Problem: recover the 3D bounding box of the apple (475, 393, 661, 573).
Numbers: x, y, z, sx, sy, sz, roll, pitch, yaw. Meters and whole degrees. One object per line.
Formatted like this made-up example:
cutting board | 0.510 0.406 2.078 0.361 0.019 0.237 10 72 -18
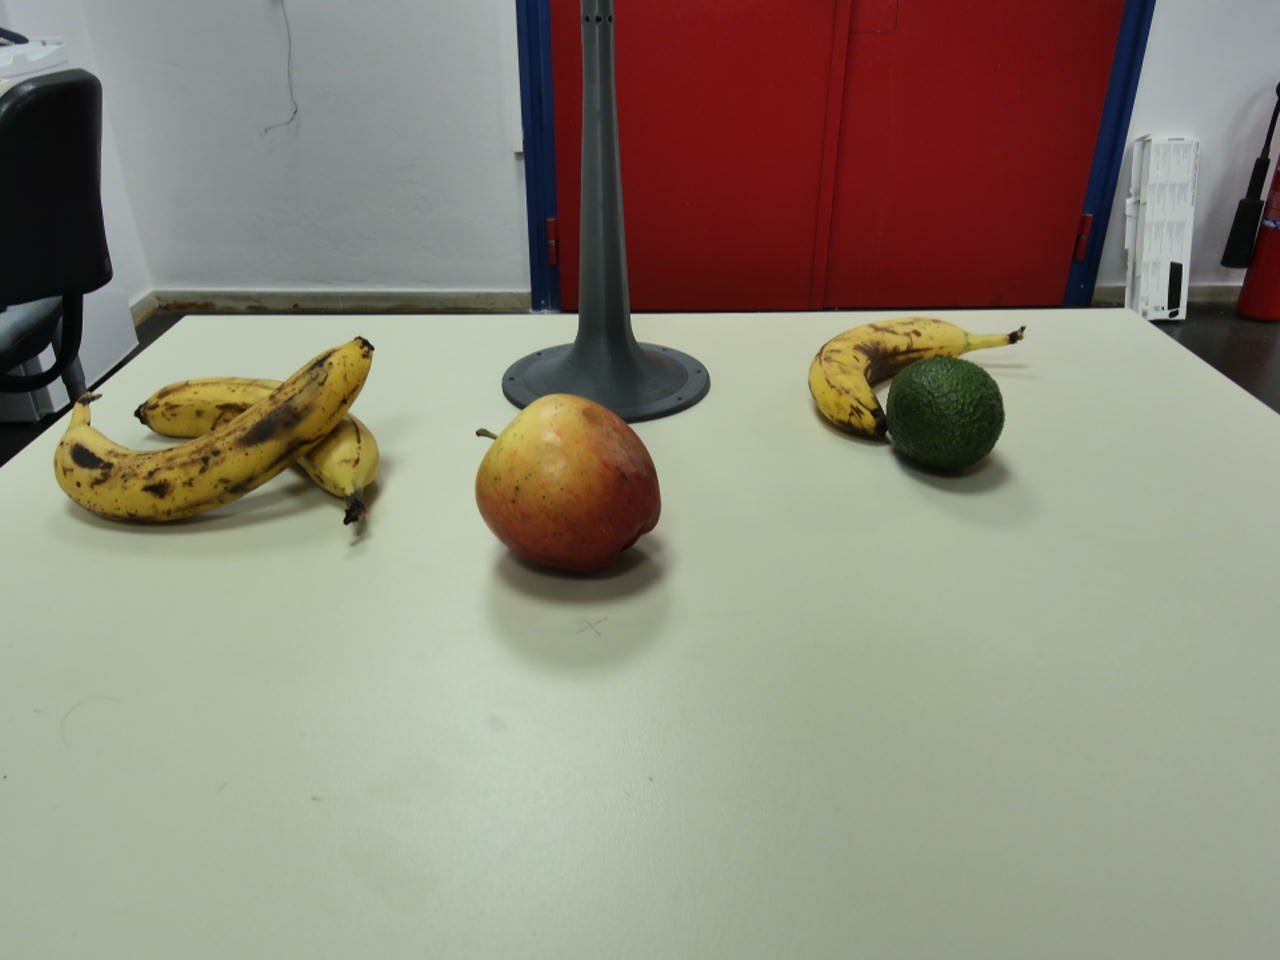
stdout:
apple | -0.038 0.001 0.494 0.086 0.084 0.093 -17 31 -32
